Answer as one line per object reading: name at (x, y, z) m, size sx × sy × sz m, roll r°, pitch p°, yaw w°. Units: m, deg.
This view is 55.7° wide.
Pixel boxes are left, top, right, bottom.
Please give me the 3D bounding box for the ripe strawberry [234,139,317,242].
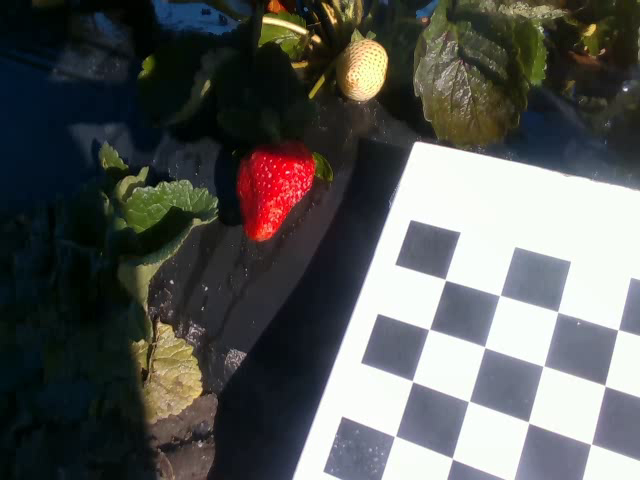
ripe strawberry at (-0.025, -0.025, 0.308) m, size 0.048 × 0.069 × 0.040 m, roll -2°, pitch -27°, yaw 12°
